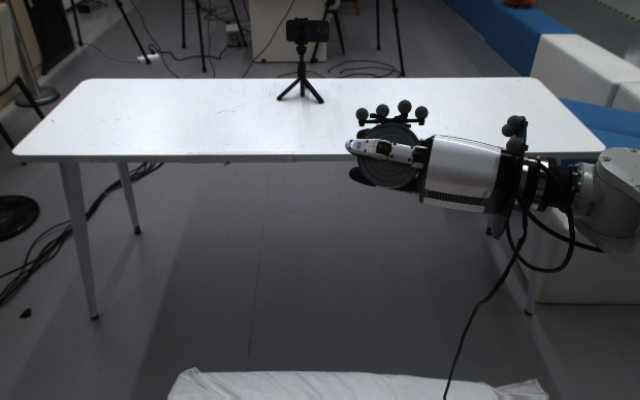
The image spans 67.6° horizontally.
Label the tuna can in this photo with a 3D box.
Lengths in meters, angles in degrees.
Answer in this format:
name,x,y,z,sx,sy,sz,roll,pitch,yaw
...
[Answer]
name,x,y,z,sx,sy,sz,roll,pitch,yaw
tuna can,0.095,-0.060,0.652,0.085,0.085,0.034,12,-1,14
